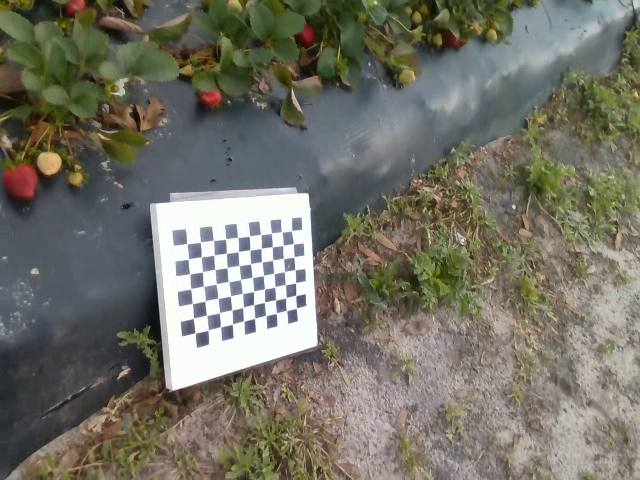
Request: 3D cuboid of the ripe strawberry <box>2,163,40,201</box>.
[{"bbox_3d":[-0.379,-0.072,0.721,0.050,0.034,0.059,-23,58,-37],"label":"ripe strawberry"}]
